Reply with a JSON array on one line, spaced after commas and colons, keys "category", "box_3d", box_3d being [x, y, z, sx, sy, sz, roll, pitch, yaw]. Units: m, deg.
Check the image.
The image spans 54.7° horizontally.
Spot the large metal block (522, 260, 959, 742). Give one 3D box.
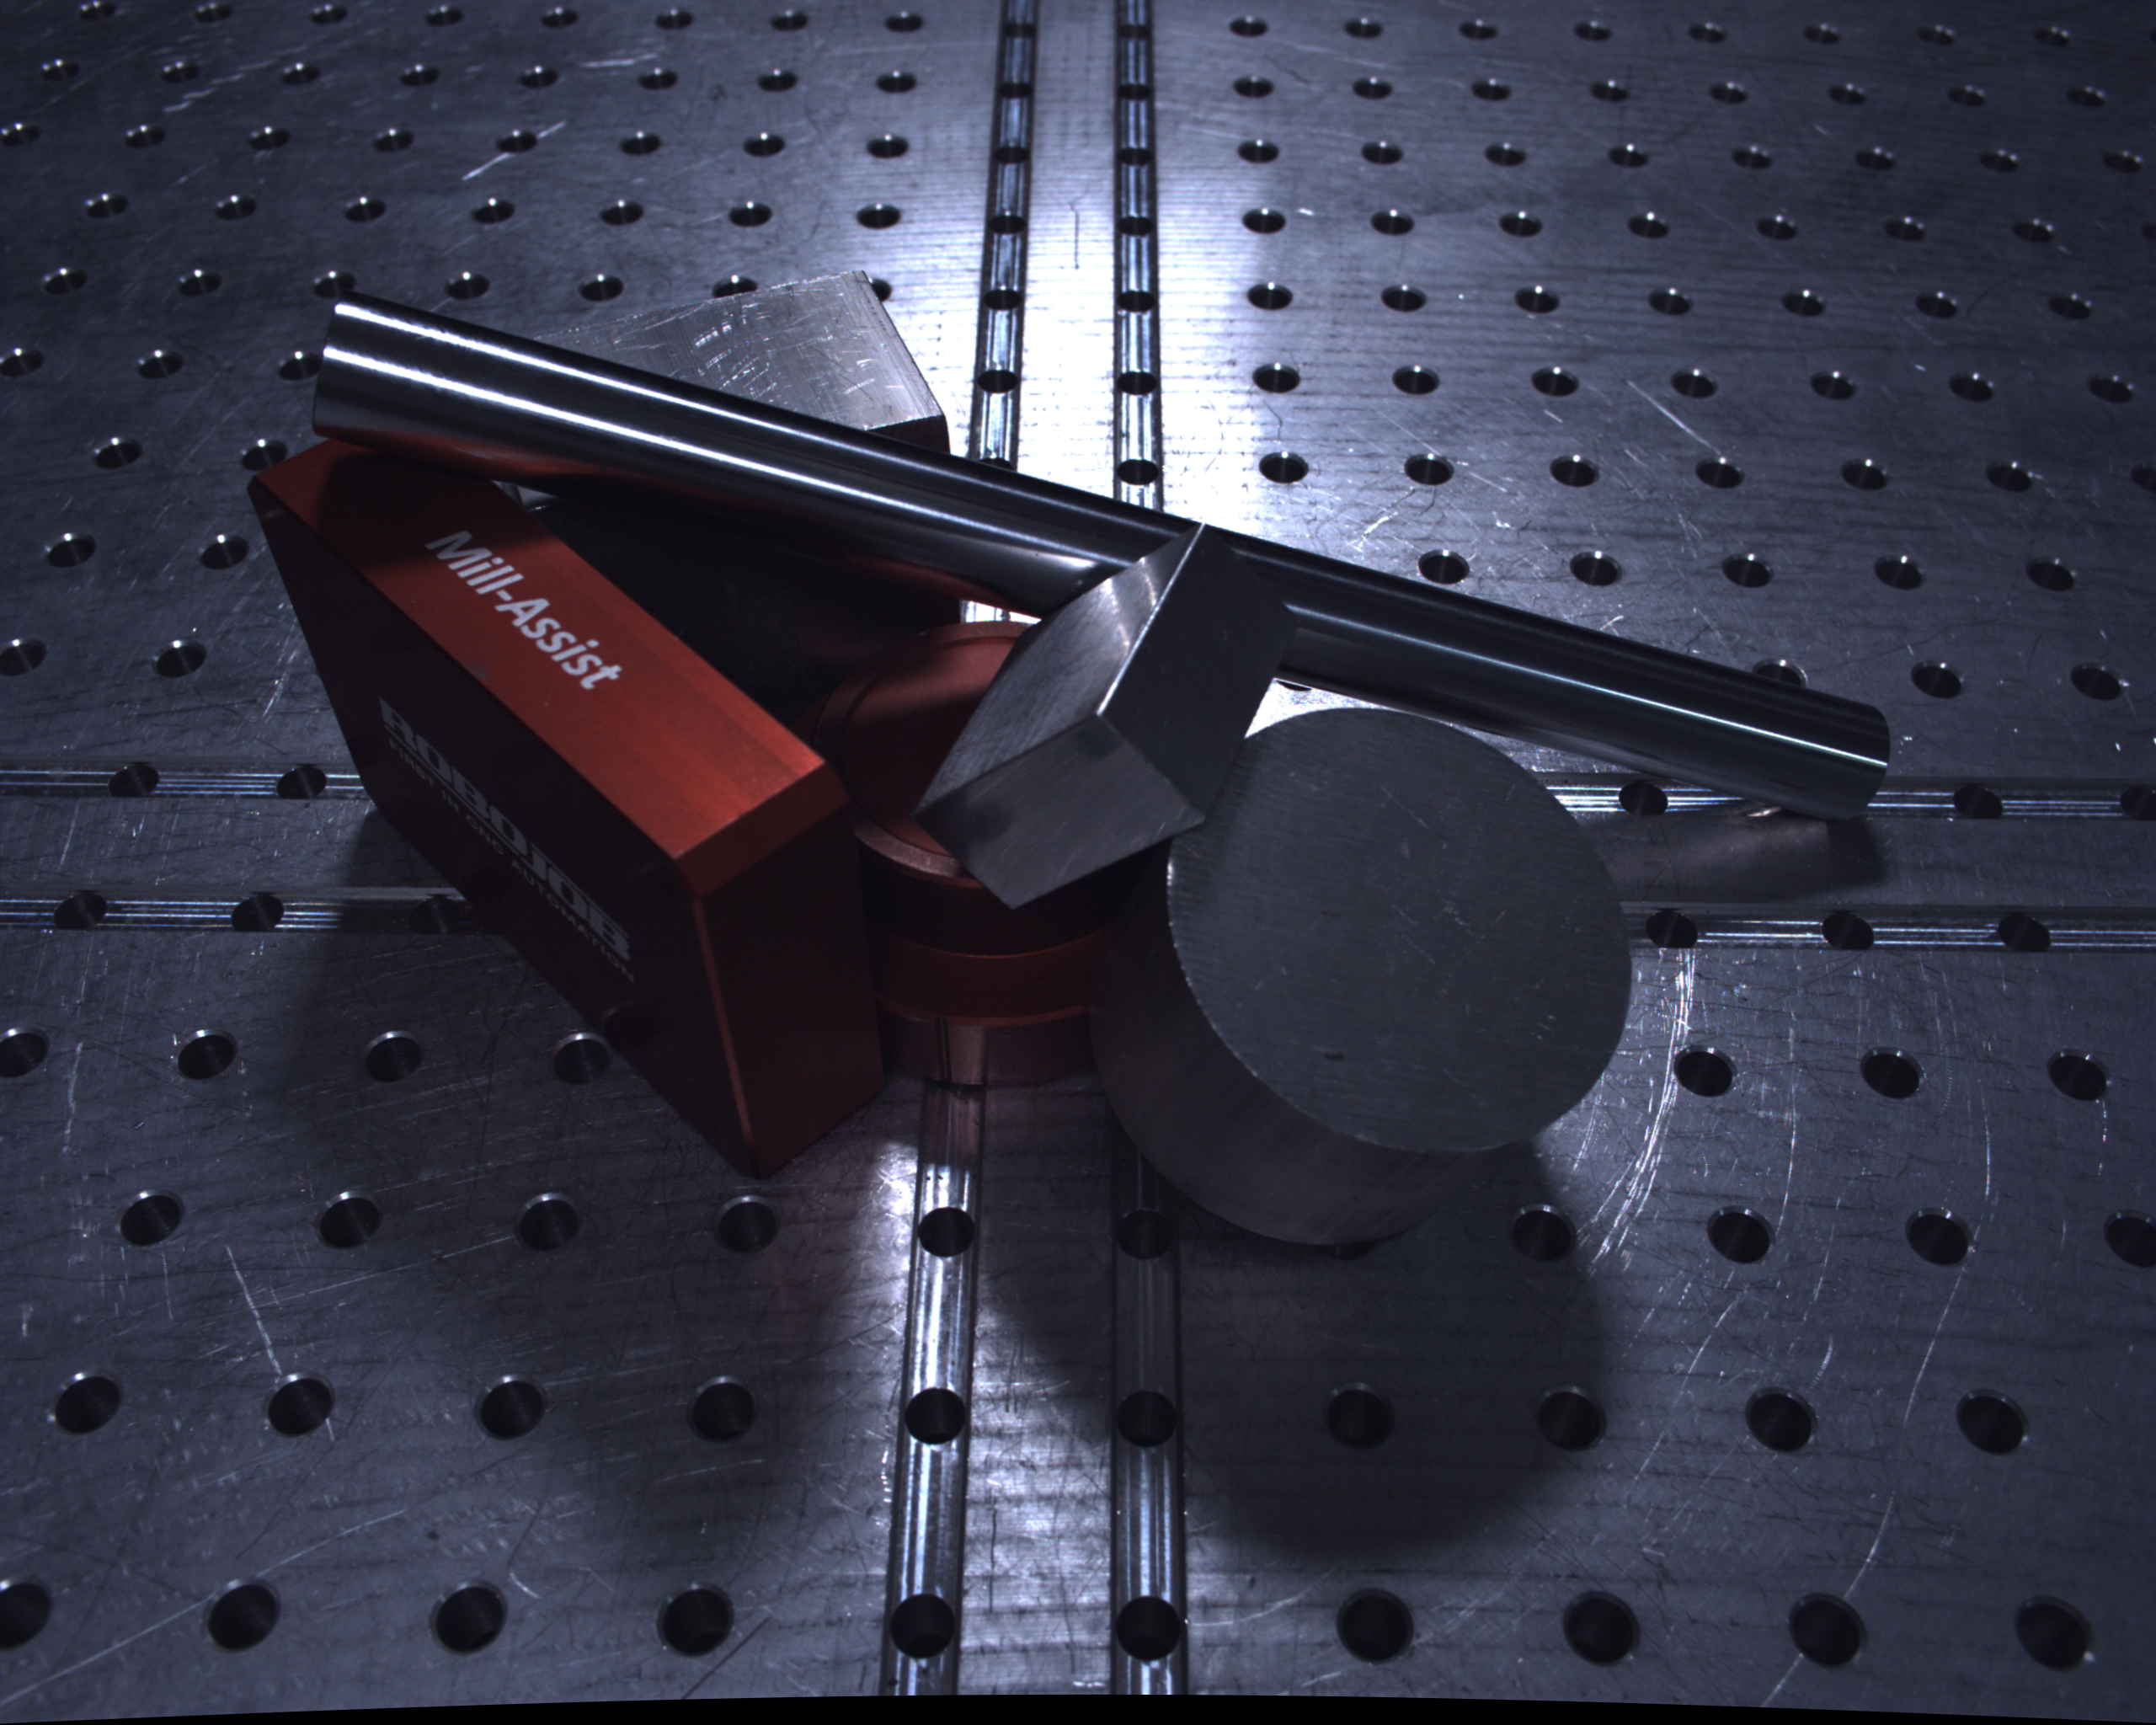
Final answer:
[{"category": "large metal block", "box_3d": [-0.071, -0.067, 0.425, 0.081, 0.080, 0.050, -17, 52, -14]}]

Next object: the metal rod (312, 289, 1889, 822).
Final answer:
[{"category": "metal rod", "box_3d": [0.017, -0.052, 0.390, 0.302, 0.025, 0.025, 13, 48, -15]}]

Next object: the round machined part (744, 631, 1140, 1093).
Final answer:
[{"category": "round machined part", "box_3d": [-0.016, -0.007, 0.406, 0.099, 0.042, 0.098, 0, 50, 0]}]

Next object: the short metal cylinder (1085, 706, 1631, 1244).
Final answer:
[{"category": "short metal cylinder", "box_3d": [0.047, 0.020, 0.360, 0.081, 0.050, 0.080, 7, 62, -13]}]

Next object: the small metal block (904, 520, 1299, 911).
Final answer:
[{"category": "small metal block", "box_3d": [0.004, -0.024, 0.355, 0.025, 0.050, 0.050, 44, 49, -20]}]

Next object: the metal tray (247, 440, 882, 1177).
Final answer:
[{"category": "metal tray", "box_3d": [-0.091, -0.013, 0.374, 0.030, 0.089, 0.130, -36, 59, -26]}]
